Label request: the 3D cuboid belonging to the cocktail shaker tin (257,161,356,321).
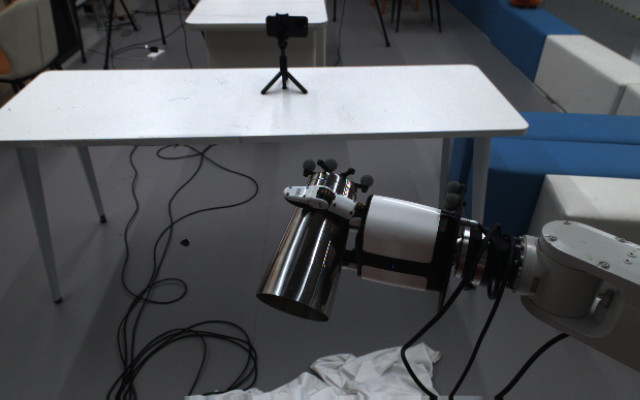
[{"bbox_3d":[-0.004,0.050,0.601,0.093,0.093,0.170,12,65,14],"label":"cocktail shaker tin"}]
